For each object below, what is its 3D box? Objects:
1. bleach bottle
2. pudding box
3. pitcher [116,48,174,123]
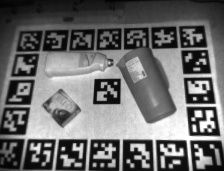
[{"bbox_3d":[-0.129,-0.092,0.828,0.250,0.068,0.102,-3,75,2],"label":"bleach bottle"},{"bbox_3d":[-0.192,0.075,0.784,0.090,0.039,0.113,-41,74,-15],"label":"pudding box"},{"bbox_3d":[0.126,0.000,0.759,0.191,0.132,0.241,-13,72,-36],"label":"pitcher"}]
